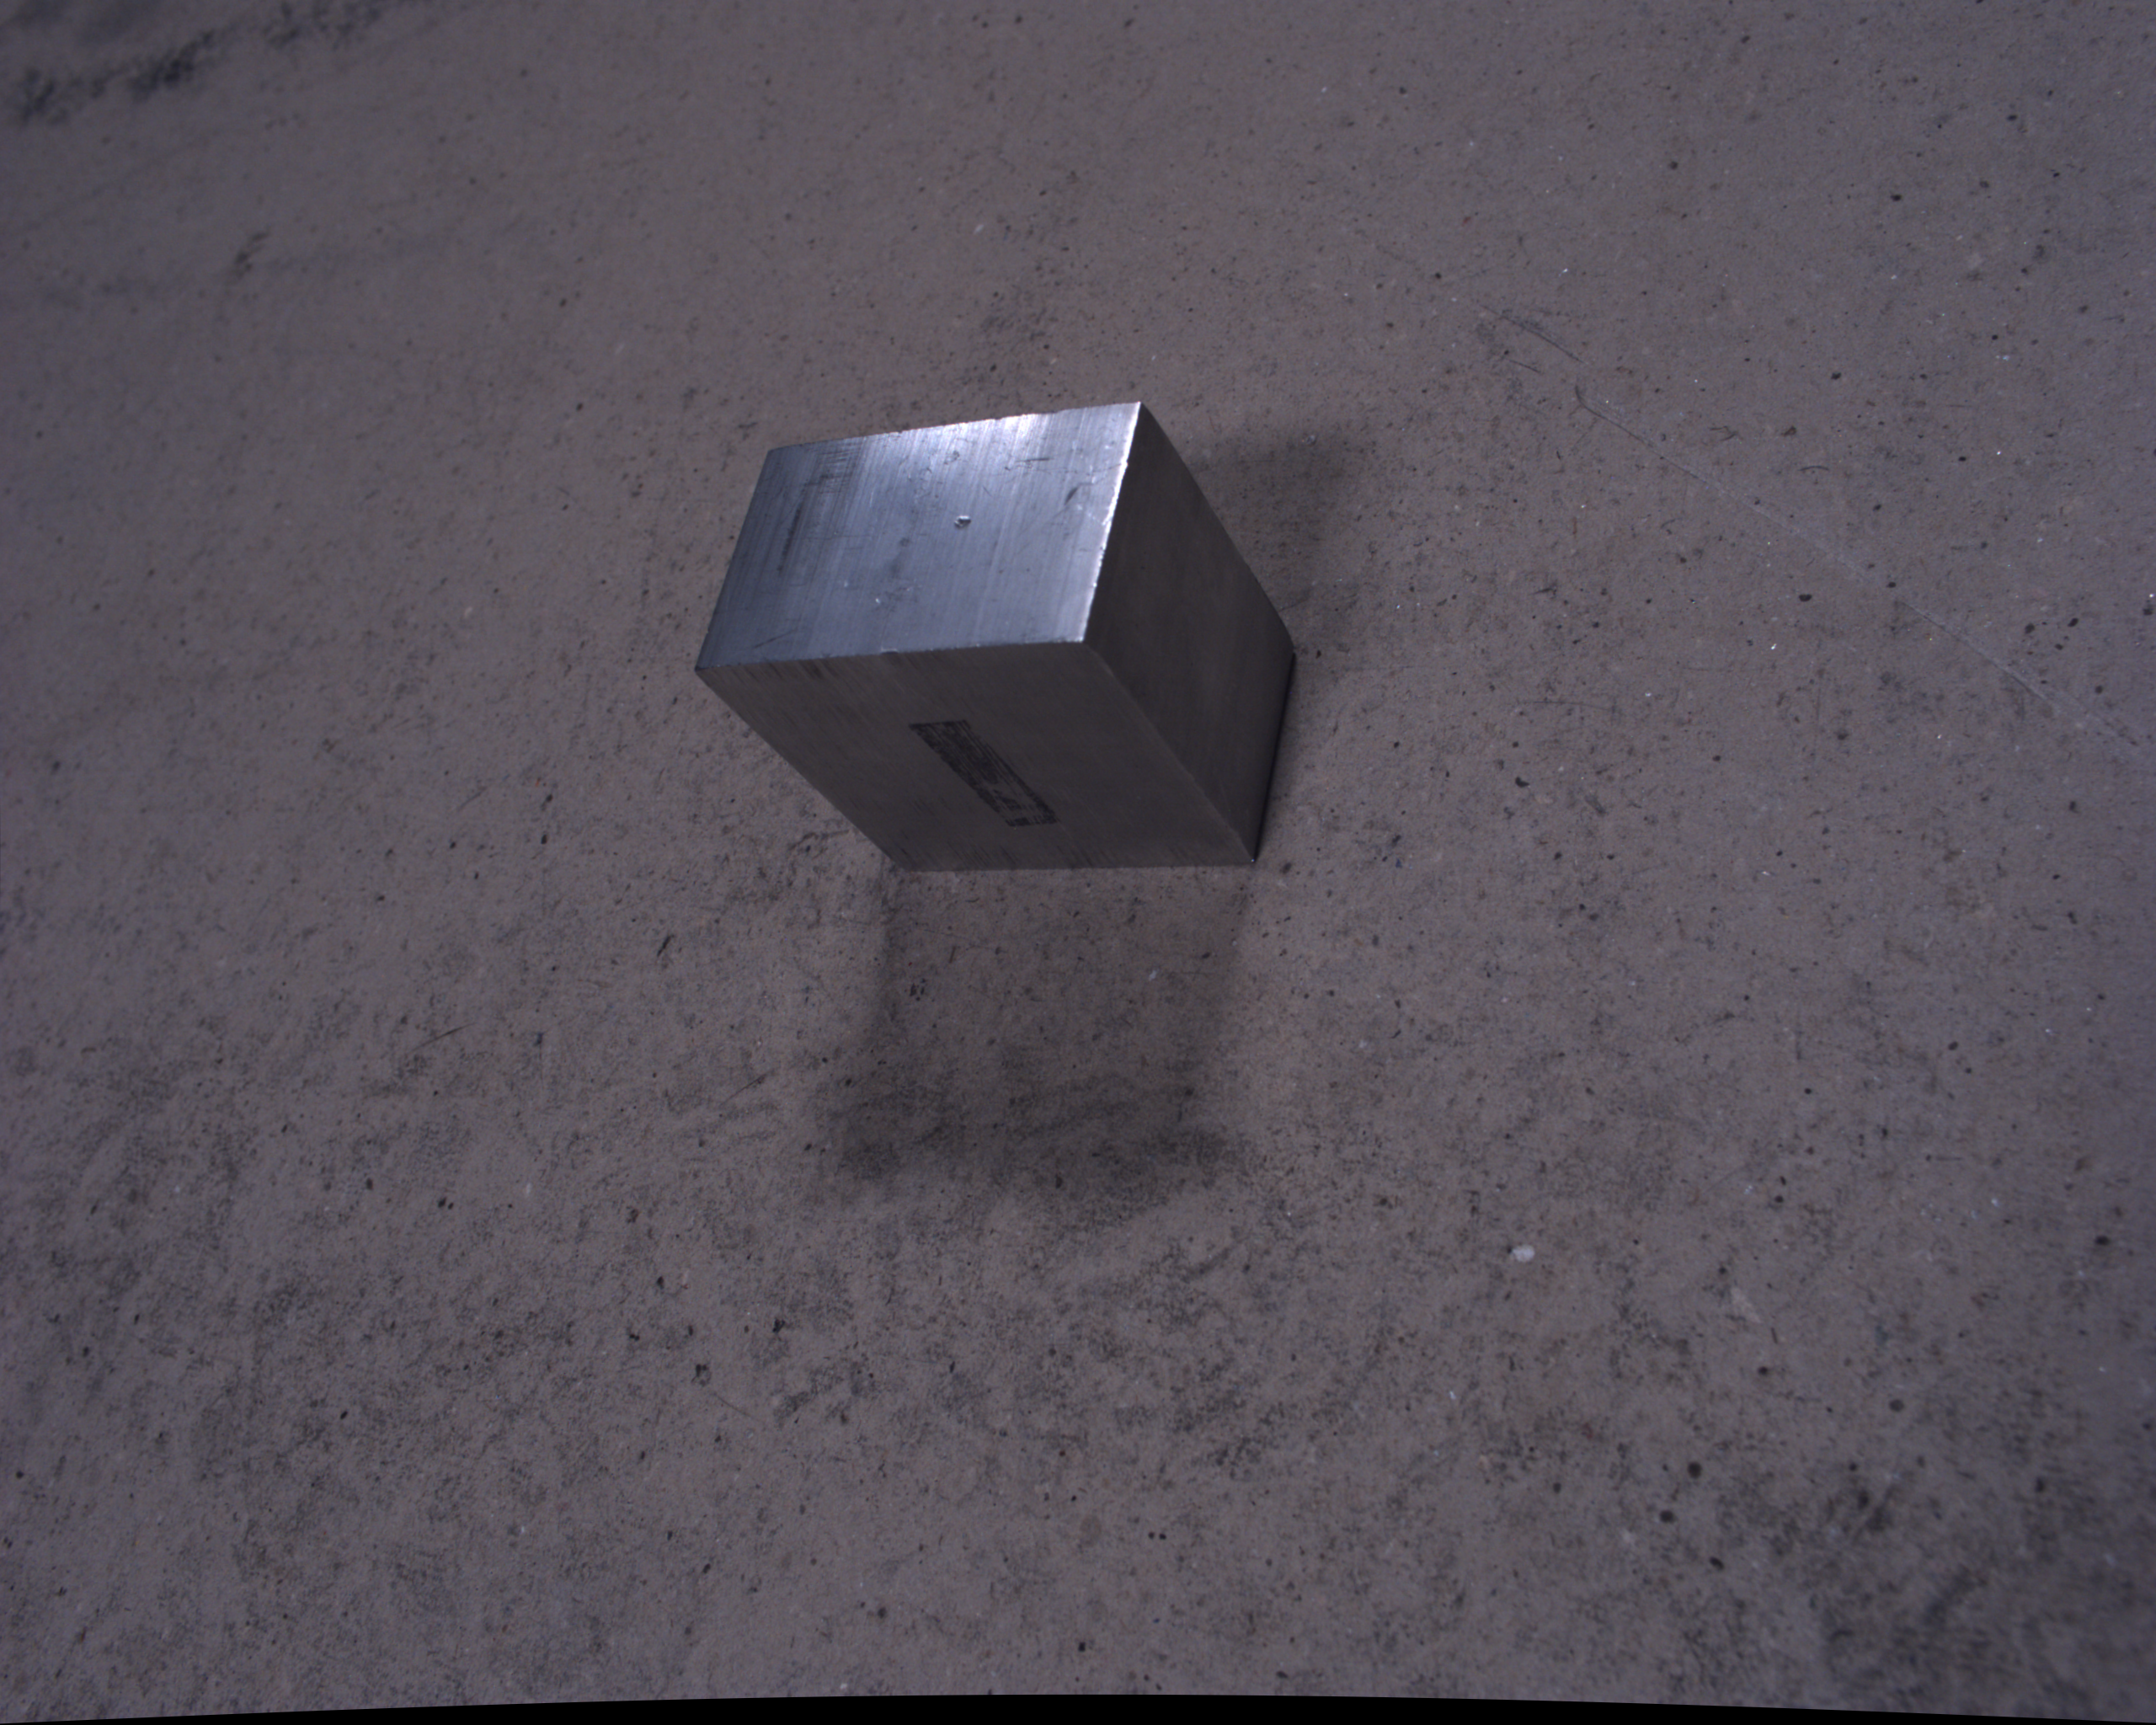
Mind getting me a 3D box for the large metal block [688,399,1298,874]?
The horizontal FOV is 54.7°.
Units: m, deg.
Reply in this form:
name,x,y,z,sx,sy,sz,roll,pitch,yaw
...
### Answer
name,x,y,z,sx,sy,sz,roll,pitch,yaw
large metal block,-0.013,-0.039,0.400,0.080,0.080,0.050,-1,61,27
